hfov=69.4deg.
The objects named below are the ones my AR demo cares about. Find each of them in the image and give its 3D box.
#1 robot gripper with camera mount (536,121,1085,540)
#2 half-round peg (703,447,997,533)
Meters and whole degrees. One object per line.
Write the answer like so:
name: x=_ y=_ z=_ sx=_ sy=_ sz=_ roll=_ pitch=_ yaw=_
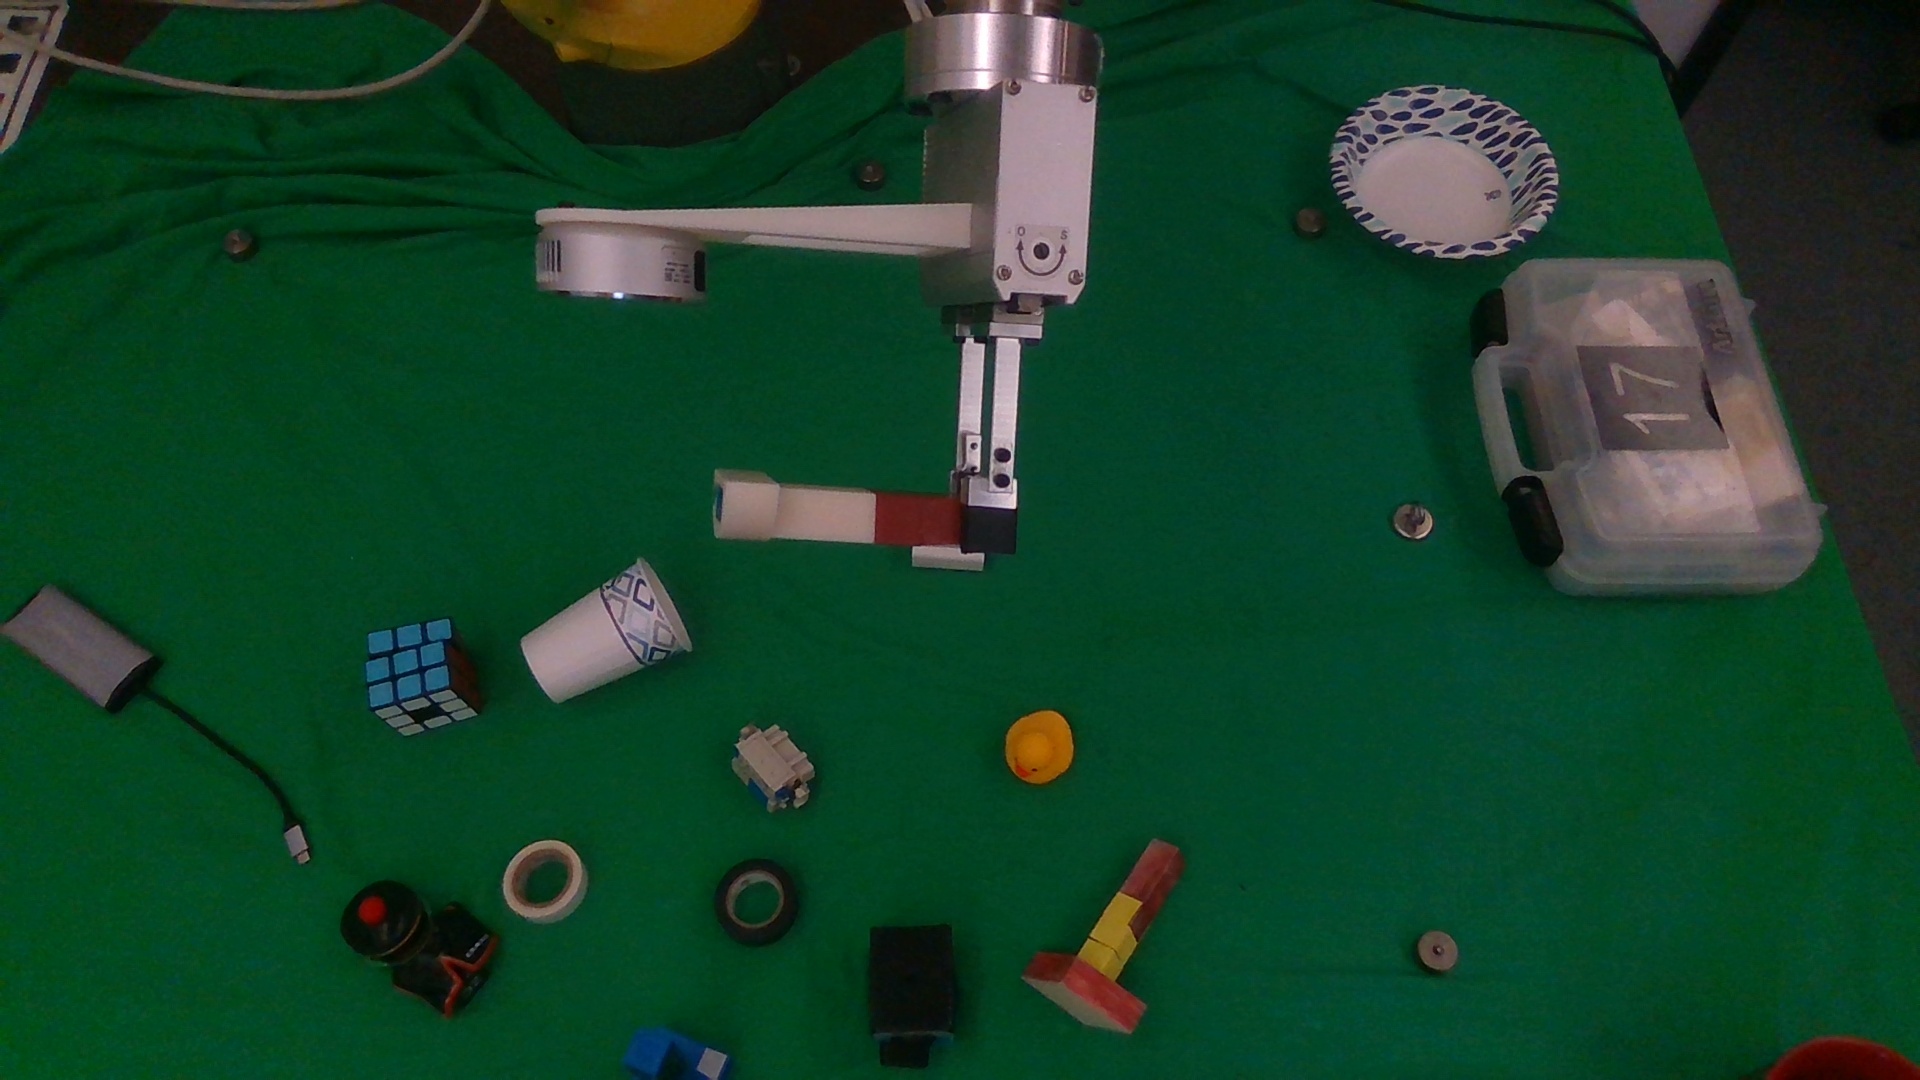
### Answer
robot gripper with camera mount: x=-0.065 y=-0.080 z=0.545 sx=0.193 sy=0.119 sz=0.158 roll=-1 pitch=99 yaw=-17
half-round peg: x=-0.043 y=-0.018 z=0.567 sx=0.122 sy=0.054 sz=0.031 roll=3 pitch=98 yaw=-16
